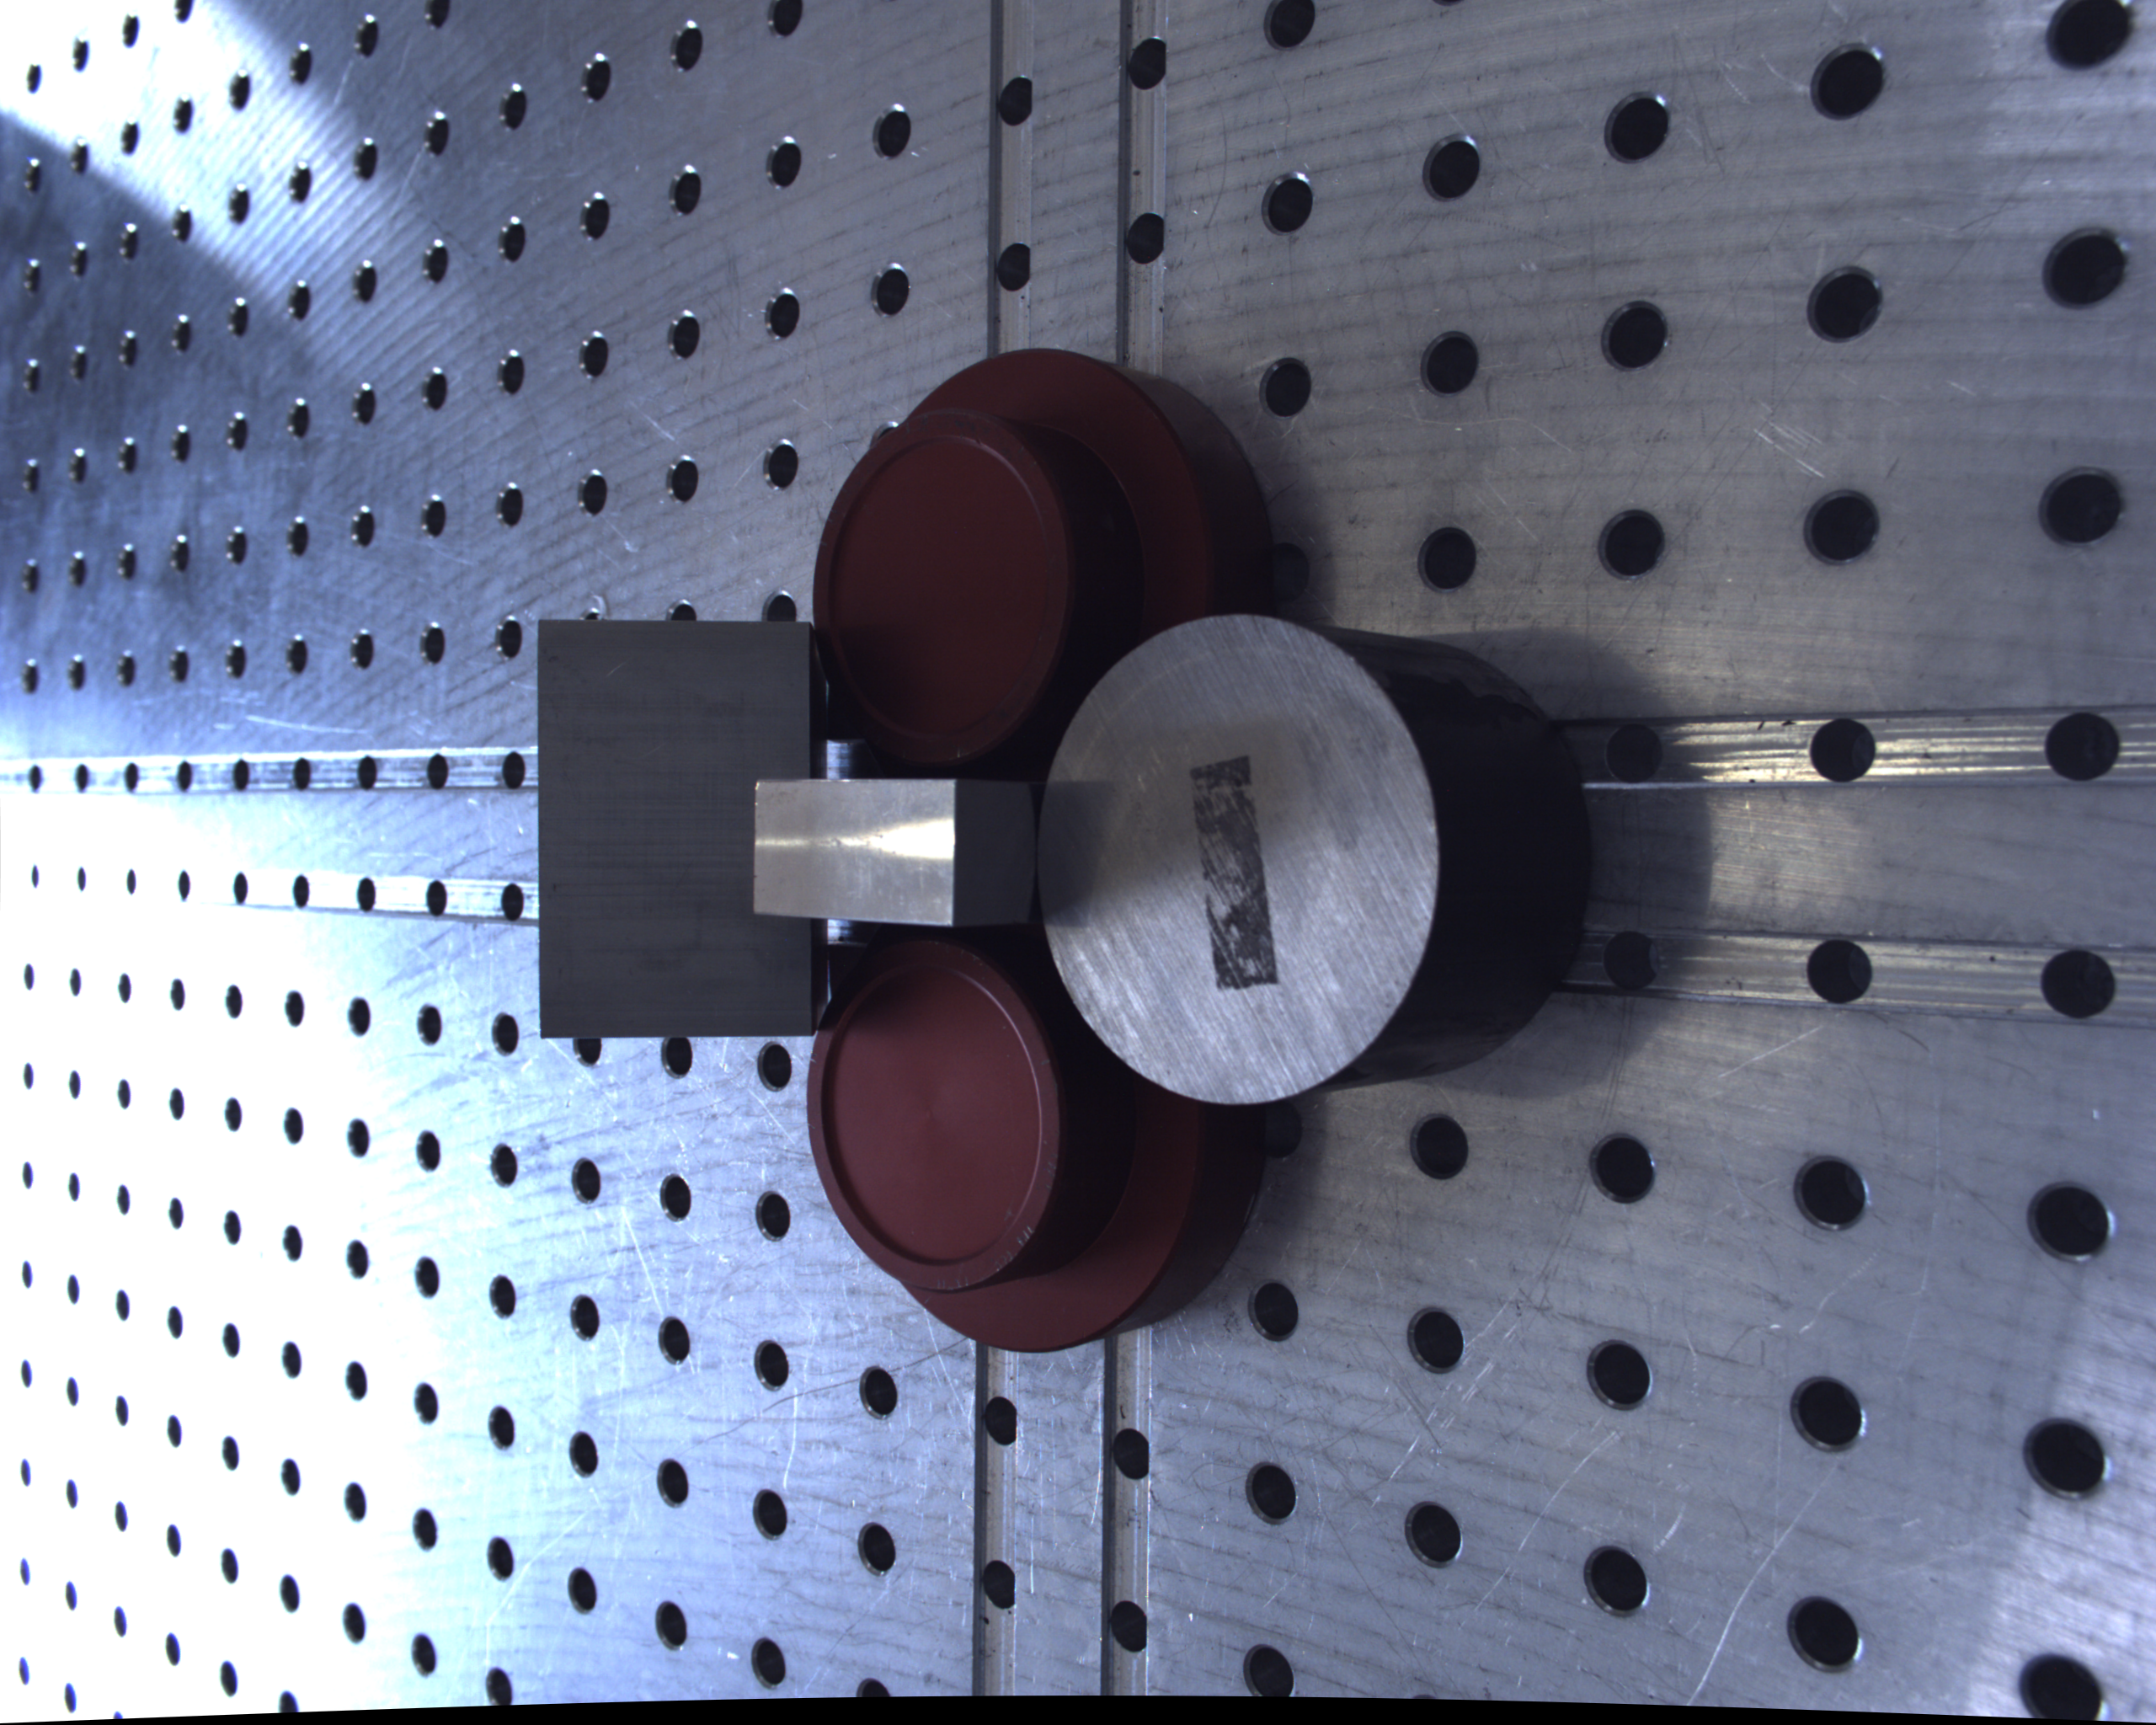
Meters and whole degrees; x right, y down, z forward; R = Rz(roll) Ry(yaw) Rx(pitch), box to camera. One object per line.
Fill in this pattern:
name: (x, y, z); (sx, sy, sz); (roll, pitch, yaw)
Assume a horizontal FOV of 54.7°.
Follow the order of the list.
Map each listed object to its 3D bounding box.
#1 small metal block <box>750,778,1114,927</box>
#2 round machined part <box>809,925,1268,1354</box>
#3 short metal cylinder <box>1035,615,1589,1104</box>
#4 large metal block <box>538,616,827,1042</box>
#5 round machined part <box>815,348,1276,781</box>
small metal block: (-0.024, -0.002, 0.385); (0.050, 0.050, 0.025); (2, 92, 40)
round machined part: (-0.015, 0.048, 0.411); (0.098, 0.042, 0.097); (0, 90, 40)
short metal cylinder: (0.039, -0.001, 0.359); (0.080, 0.050, 0.080); (0, 90, 40)
large metal block: (-0.078, -0.007, 0.431); (0.050, 0.080, 0.080); (0, 90, -4)
round machined part: (-0.013, -0.052, 0.410); (0.098, 0.042, 0.097); (0, 90, 40)
